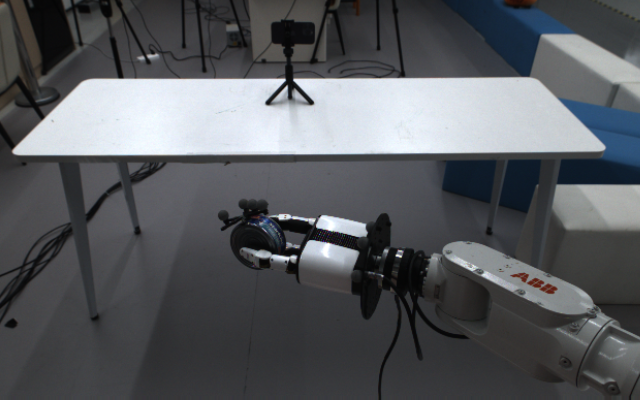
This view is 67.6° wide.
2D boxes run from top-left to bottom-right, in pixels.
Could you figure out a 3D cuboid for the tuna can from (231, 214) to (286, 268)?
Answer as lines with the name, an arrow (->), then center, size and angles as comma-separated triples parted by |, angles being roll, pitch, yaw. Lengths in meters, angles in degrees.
tuna can -> -0.096, 0.074, 0.767 | 0.085, 0.085, 0.034 | 15, 29, 18
